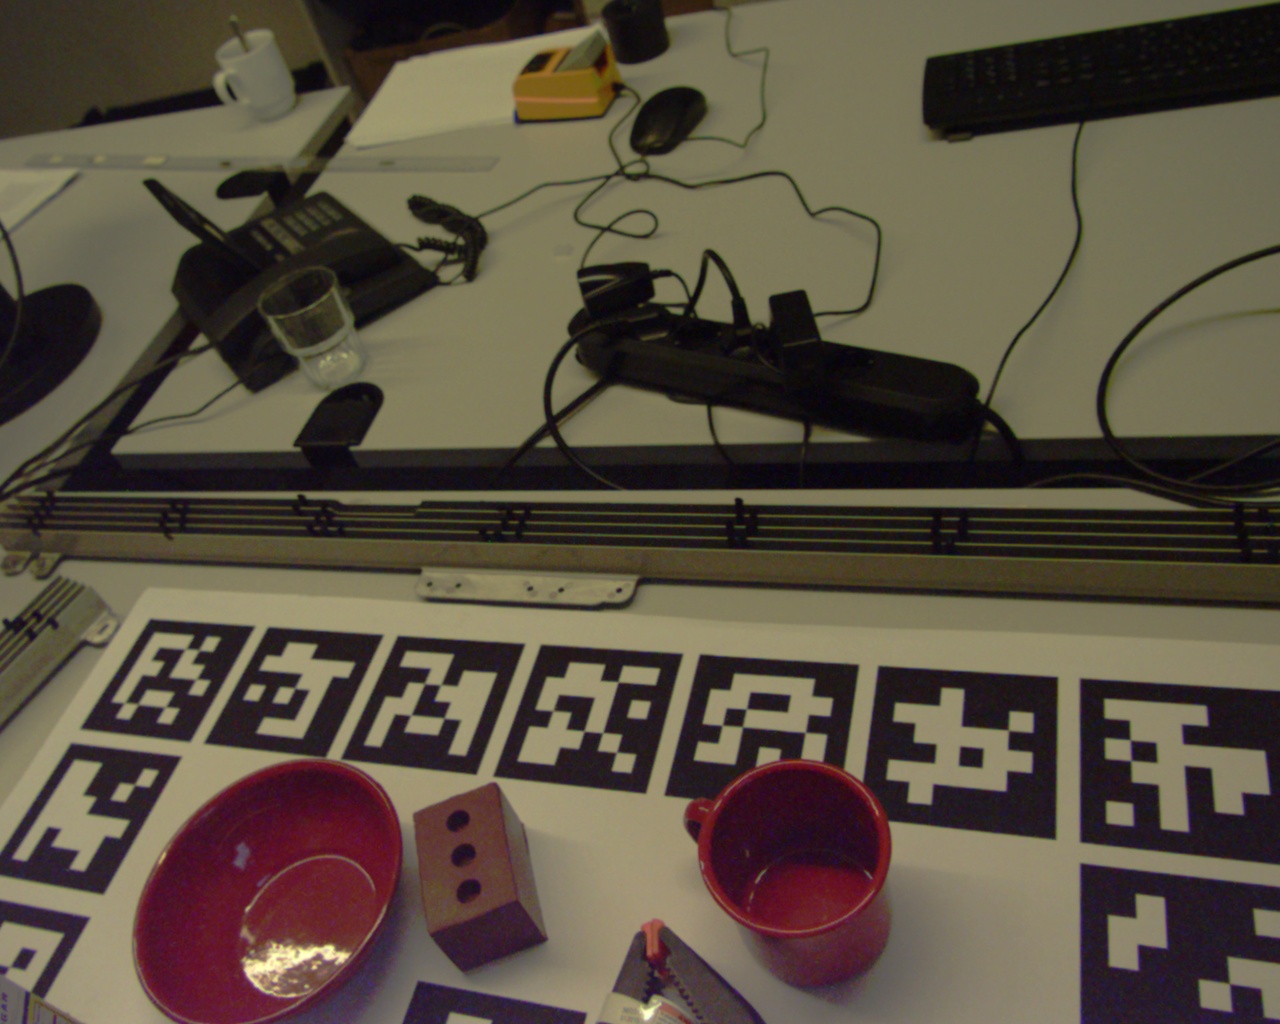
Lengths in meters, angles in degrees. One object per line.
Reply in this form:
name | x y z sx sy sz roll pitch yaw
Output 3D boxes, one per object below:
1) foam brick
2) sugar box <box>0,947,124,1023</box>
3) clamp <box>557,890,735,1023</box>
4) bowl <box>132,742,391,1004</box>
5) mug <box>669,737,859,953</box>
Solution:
foam brick | -0.099 0.208 0.669 0.053 0.051 0.079 -20 46 2
sugar box | -0.331 0.282 0.589 0.093 0.175 0.045 -17 47 1
clamp | 0.007 0.283 0.554 0.166 0.036 0.204 -18 46 5
bowl | -0.217 0.222 0.688 0.162 0.055 0.162 -10 46 10
mug | 0.061 0.175 0.609 0.119 0.081 0.093 26 61 32
